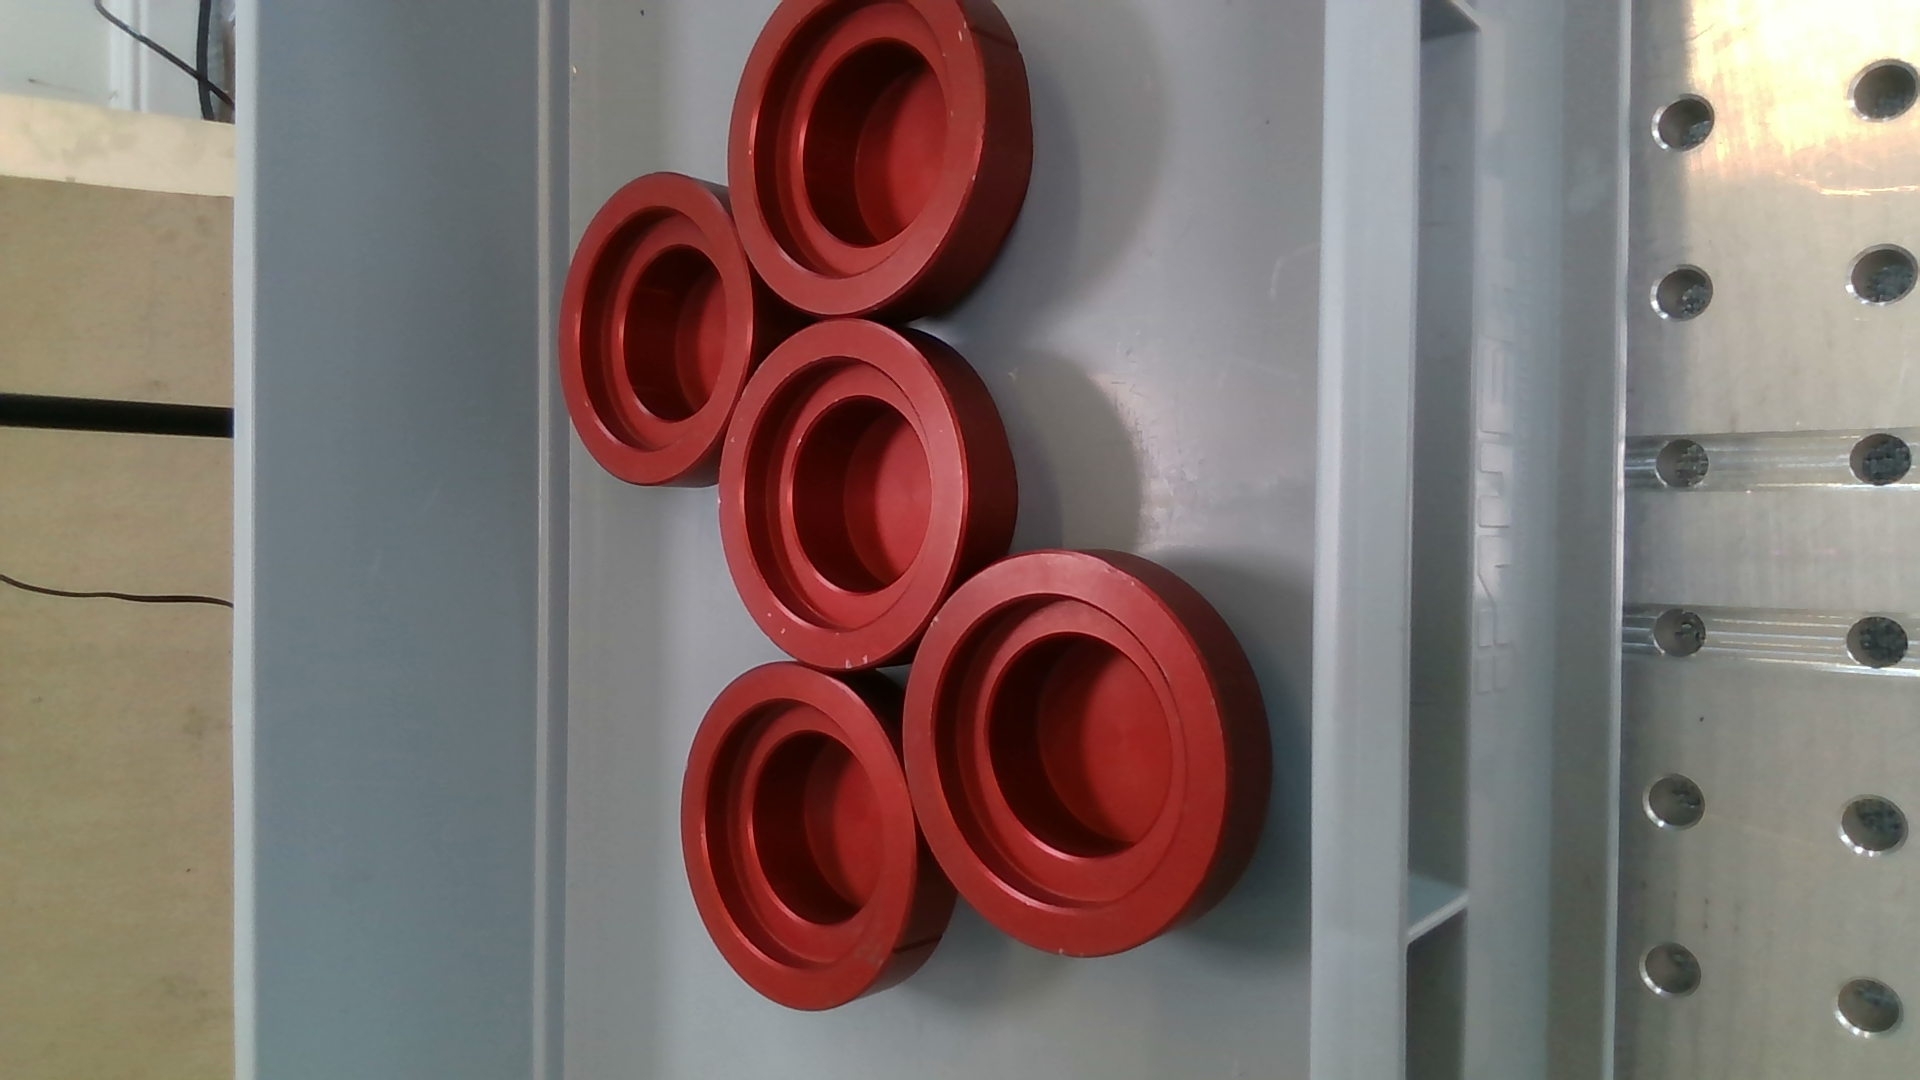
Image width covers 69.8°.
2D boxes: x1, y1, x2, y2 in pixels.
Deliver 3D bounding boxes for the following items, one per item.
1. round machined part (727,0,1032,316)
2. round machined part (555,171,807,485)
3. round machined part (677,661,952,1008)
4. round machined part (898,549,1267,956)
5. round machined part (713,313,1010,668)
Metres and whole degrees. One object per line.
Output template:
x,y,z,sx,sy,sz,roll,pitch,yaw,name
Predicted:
-0.019,-0.111,0.392,0.098,0.042,0.098,0,91,40,round machined part
-0.086,-0.067,0.448,0.098,0.042,0.098,0,91,40,round machined part
-0.037,0.084,0.409,0.098,0.042,0.098,0,91,40,round machined part
0.034,0.051,0.349,0.098,0.042,0.098,0,91,40,round machined part
-0.024,-0.014,0.396,0.098,0.042,0.098,0,91,40,round machined part
